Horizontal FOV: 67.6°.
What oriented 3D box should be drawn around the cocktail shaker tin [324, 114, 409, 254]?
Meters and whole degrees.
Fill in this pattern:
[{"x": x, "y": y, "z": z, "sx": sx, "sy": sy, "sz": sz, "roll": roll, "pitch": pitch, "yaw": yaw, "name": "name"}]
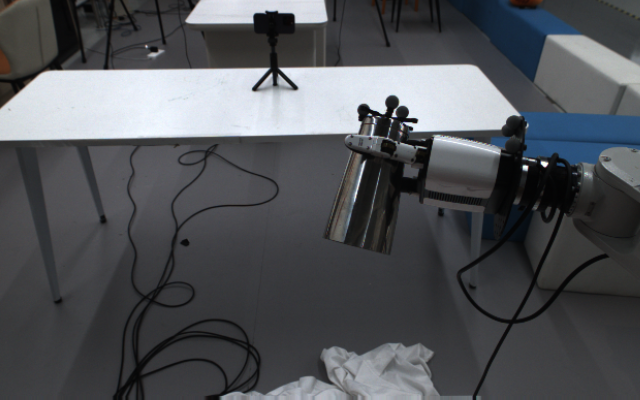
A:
[{"x": 0.070, "y": -0.023, "z": 0.649, "sx": 0.093, "sy": 0.170, "sz": 0.093, "roll": 15, "pitch": -5, "yaw": 1, "name": "cocktail shaker tin"}]
